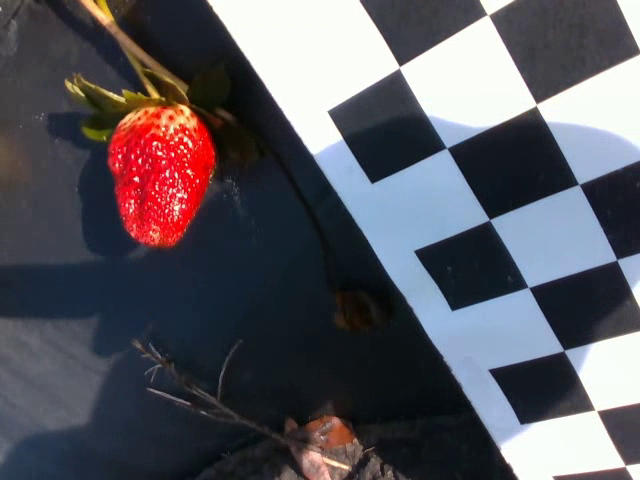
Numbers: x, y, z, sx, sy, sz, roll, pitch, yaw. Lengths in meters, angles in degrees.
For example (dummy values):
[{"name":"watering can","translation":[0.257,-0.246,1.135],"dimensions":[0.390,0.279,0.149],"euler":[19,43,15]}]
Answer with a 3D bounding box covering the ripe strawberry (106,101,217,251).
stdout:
[{"name":"ripe strawberry","translation":[-0.020,-0.008,0.072],"dimensions":[0.015,0.023,0.015],"euler":[-15,-28,28]}]
